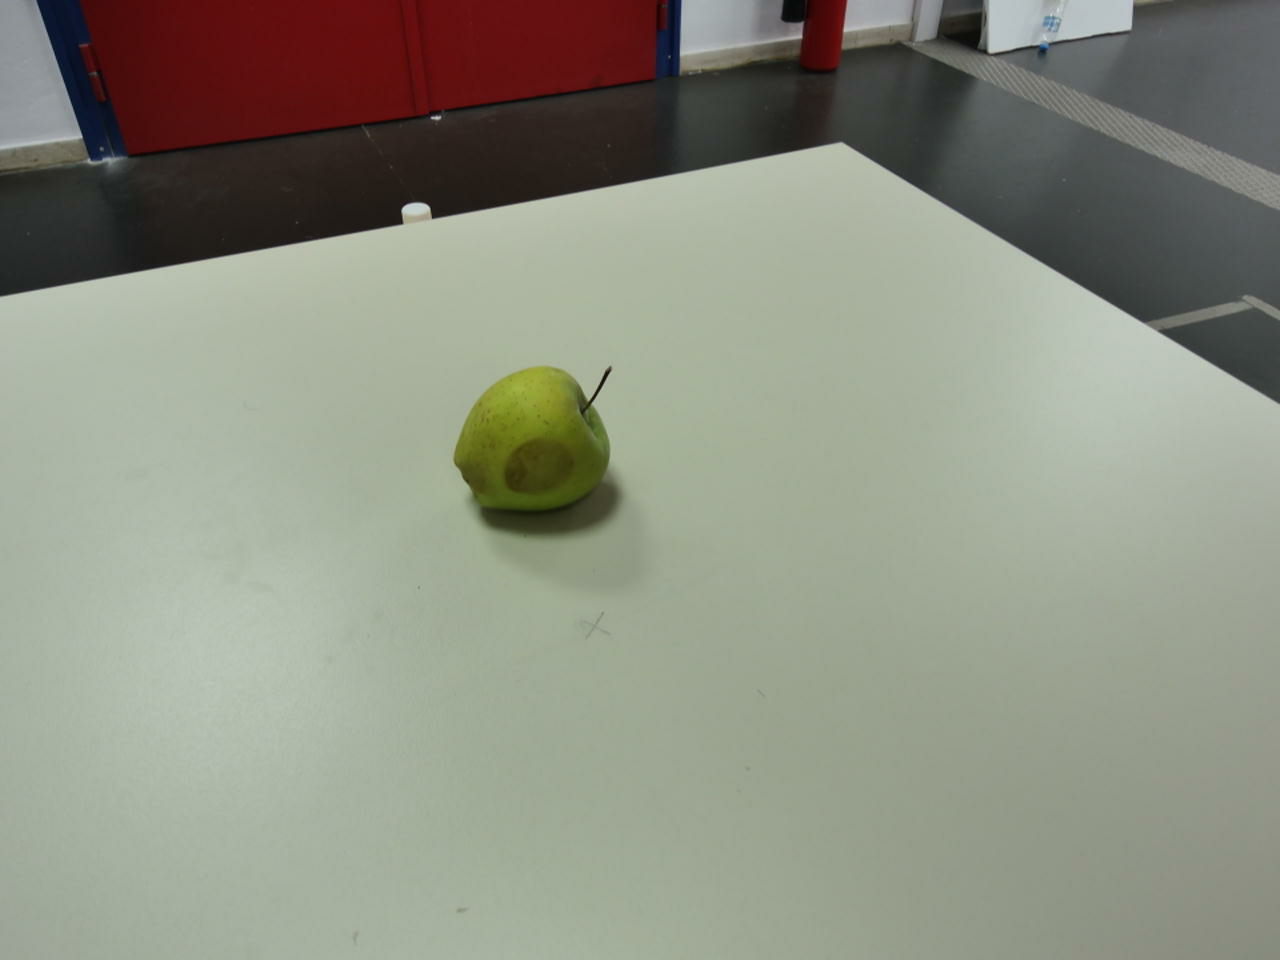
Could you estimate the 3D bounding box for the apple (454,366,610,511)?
[{"bbox_3d":[-0.054,-0.022,0.516,0.077,0.075,0.072,13,40,14],"label":"apple"}]
